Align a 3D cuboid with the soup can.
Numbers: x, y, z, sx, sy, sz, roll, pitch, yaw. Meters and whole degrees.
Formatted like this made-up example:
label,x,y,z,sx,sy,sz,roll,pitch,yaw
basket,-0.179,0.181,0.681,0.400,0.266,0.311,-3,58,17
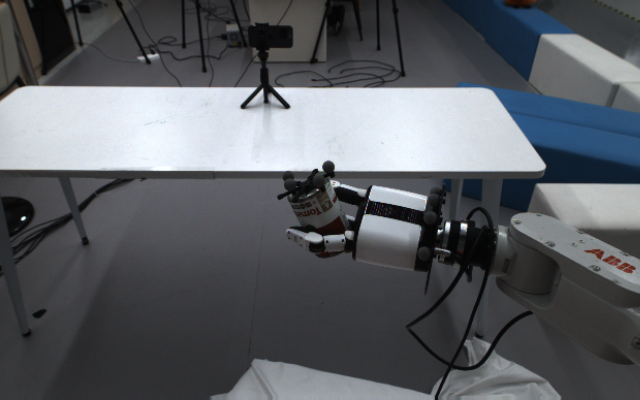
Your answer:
label,x,y,z,sx,sy,sz,roll,pitch,yaw
soup can,0.004,0.025,0.708,0.067,0.101,0.067,-21,24,10
